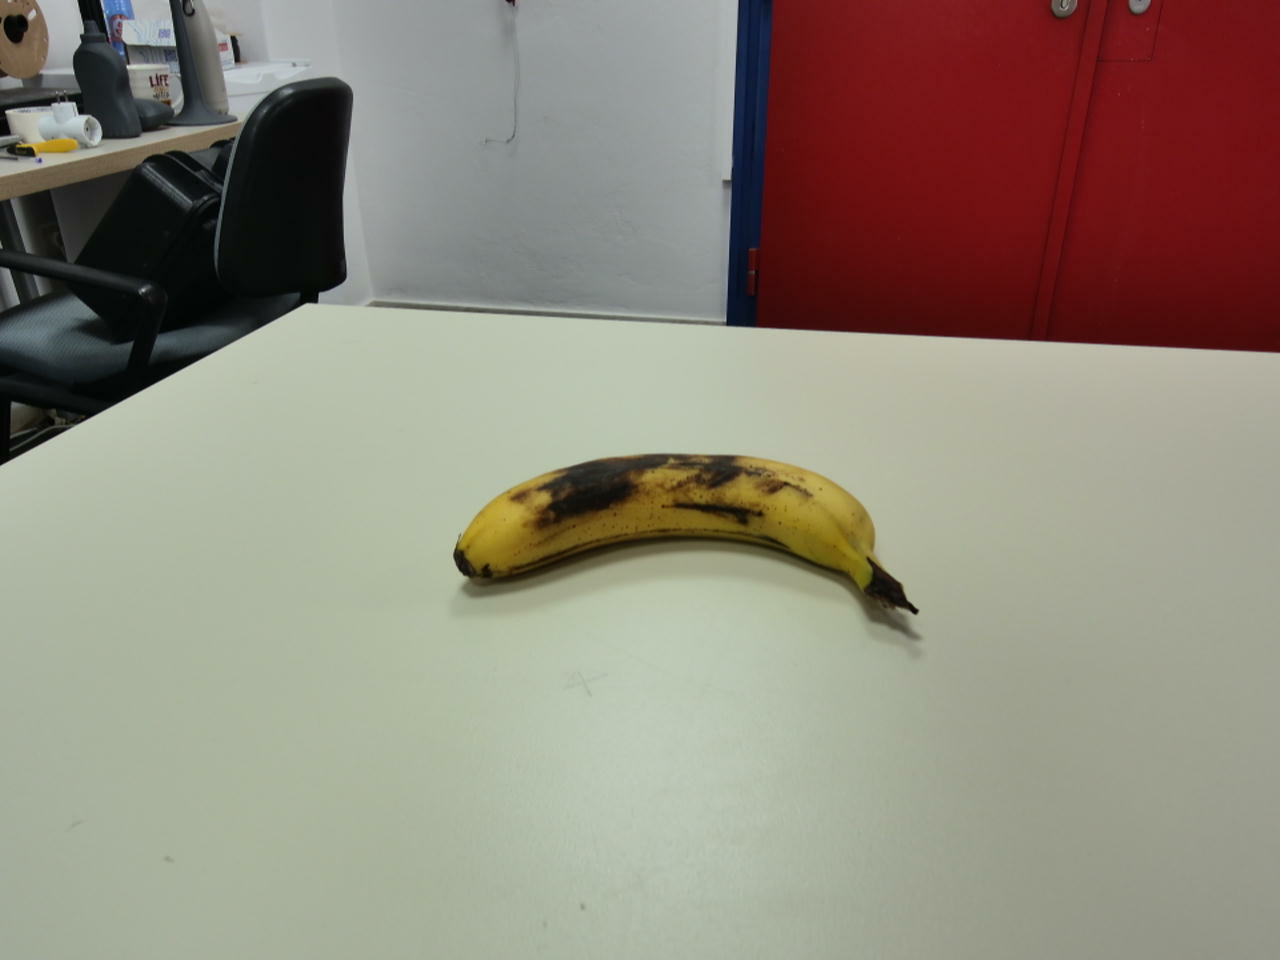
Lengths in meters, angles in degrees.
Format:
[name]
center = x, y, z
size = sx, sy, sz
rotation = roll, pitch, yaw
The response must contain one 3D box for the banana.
[banana]
center = 0.020, 0.018, 0.435
size = 0.187, 0.039, 0.094
rotation = 4, 24, 10
